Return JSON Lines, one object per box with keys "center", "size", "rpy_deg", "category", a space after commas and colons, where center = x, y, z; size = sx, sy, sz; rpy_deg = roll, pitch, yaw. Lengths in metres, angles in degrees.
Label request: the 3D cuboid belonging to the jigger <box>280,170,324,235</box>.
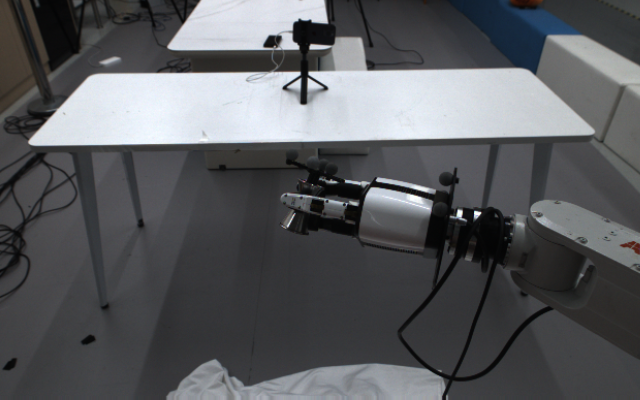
{"center": [-0.025, 0.007, 0.653], "size": [0.043, 0.071, 0.043], "rpy_deg": [22, 6, -2], "category": "jigger"}
